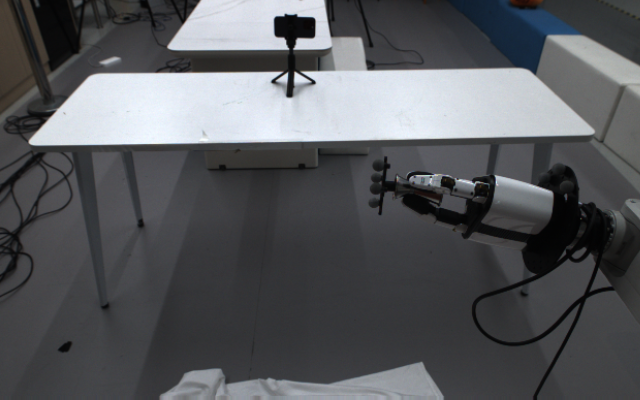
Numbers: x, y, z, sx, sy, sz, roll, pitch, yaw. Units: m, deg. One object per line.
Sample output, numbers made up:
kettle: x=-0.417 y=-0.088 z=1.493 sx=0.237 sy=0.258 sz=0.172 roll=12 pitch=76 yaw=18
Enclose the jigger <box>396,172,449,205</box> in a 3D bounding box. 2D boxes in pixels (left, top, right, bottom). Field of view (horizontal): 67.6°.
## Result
jigger: x=0.150 y=-0.021 z=0.714 sx=0.071 sy=0.043 sz=0.043 roll=5 pitch=35 yaw=3
